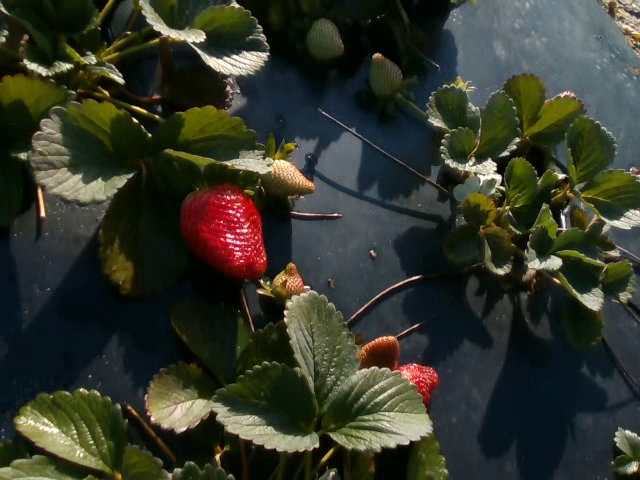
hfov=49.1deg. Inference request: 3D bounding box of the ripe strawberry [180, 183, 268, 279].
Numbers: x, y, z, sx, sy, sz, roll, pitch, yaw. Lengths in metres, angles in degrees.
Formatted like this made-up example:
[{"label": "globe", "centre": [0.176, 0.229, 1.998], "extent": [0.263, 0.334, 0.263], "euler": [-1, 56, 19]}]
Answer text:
[{"label": "ripe strawberry", "centre": [-0.051, -0.003, 0.391], "extent": [0.072, 0.057, 0.055], "euler": [51, 14, 28]}]
